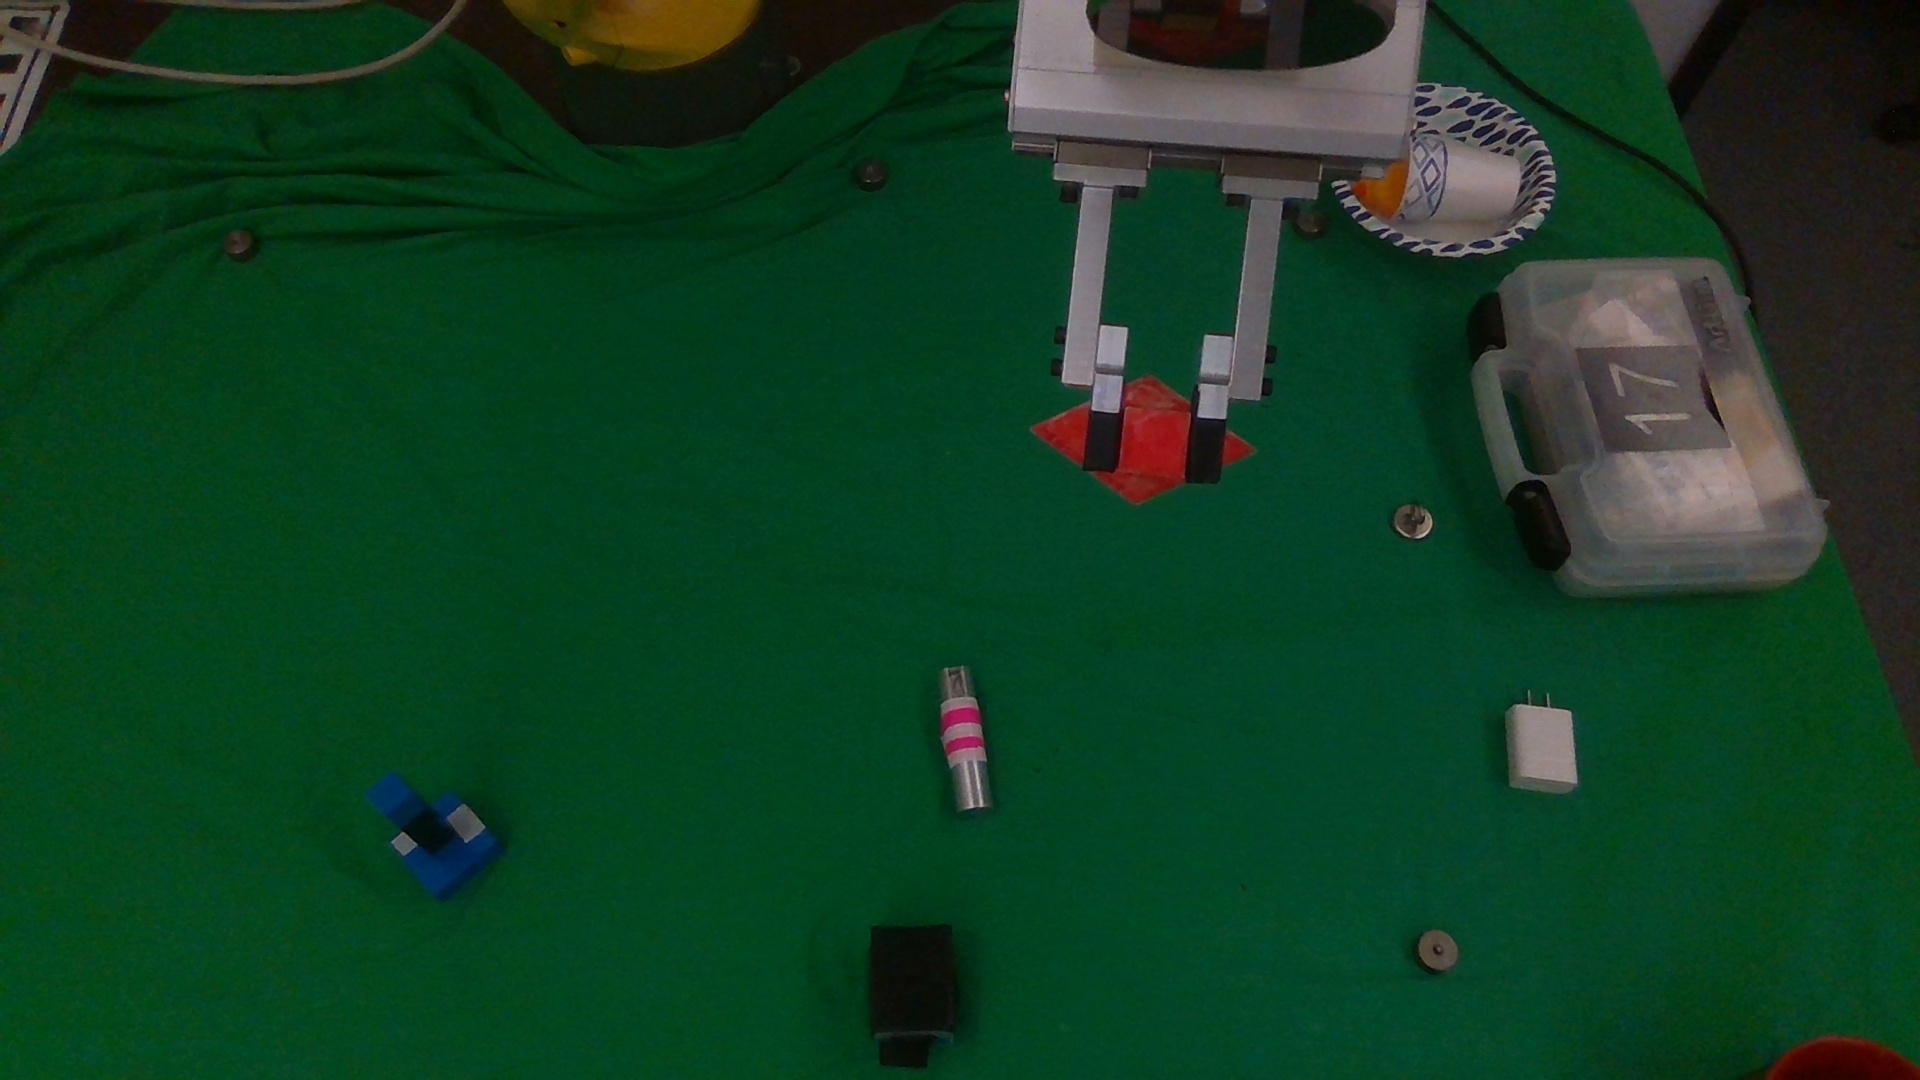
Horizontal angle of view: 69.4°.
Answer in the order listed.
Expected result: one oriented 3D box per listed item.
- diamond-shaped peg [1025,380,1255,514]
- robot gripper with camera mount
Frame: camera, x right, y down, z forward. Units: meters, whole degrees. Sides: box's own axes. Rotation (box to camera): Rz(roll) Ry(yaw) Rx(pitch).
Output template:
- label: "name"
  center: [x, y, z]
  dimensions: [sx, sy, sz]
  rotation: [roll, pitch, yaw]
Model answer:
- label: "diamond-shaped peg"
  center: [0.062, -0.030, 0.471]
  dimensions: [0.074, 0.122, 0.045]
  rotation: [-24, 93, 8]
- label: "robot gripper with camera mount"
  center: [0.069, -0.089, 0.349]
  dimensions: [0.119, 0.193, 0.158]
  rotation: [4, 96, -2]
